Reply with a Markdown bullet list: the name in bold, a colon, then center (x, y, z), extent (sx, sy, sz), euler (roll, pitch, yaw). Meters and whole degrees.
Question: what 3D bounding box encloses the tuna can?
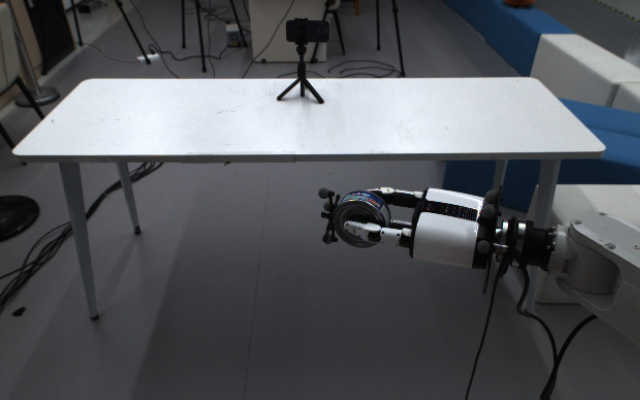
- **tuna can**: center (0.066, 0.031, 0.742), extent (0.085, 0.085, 0.034), euler (12, 28, 14)
